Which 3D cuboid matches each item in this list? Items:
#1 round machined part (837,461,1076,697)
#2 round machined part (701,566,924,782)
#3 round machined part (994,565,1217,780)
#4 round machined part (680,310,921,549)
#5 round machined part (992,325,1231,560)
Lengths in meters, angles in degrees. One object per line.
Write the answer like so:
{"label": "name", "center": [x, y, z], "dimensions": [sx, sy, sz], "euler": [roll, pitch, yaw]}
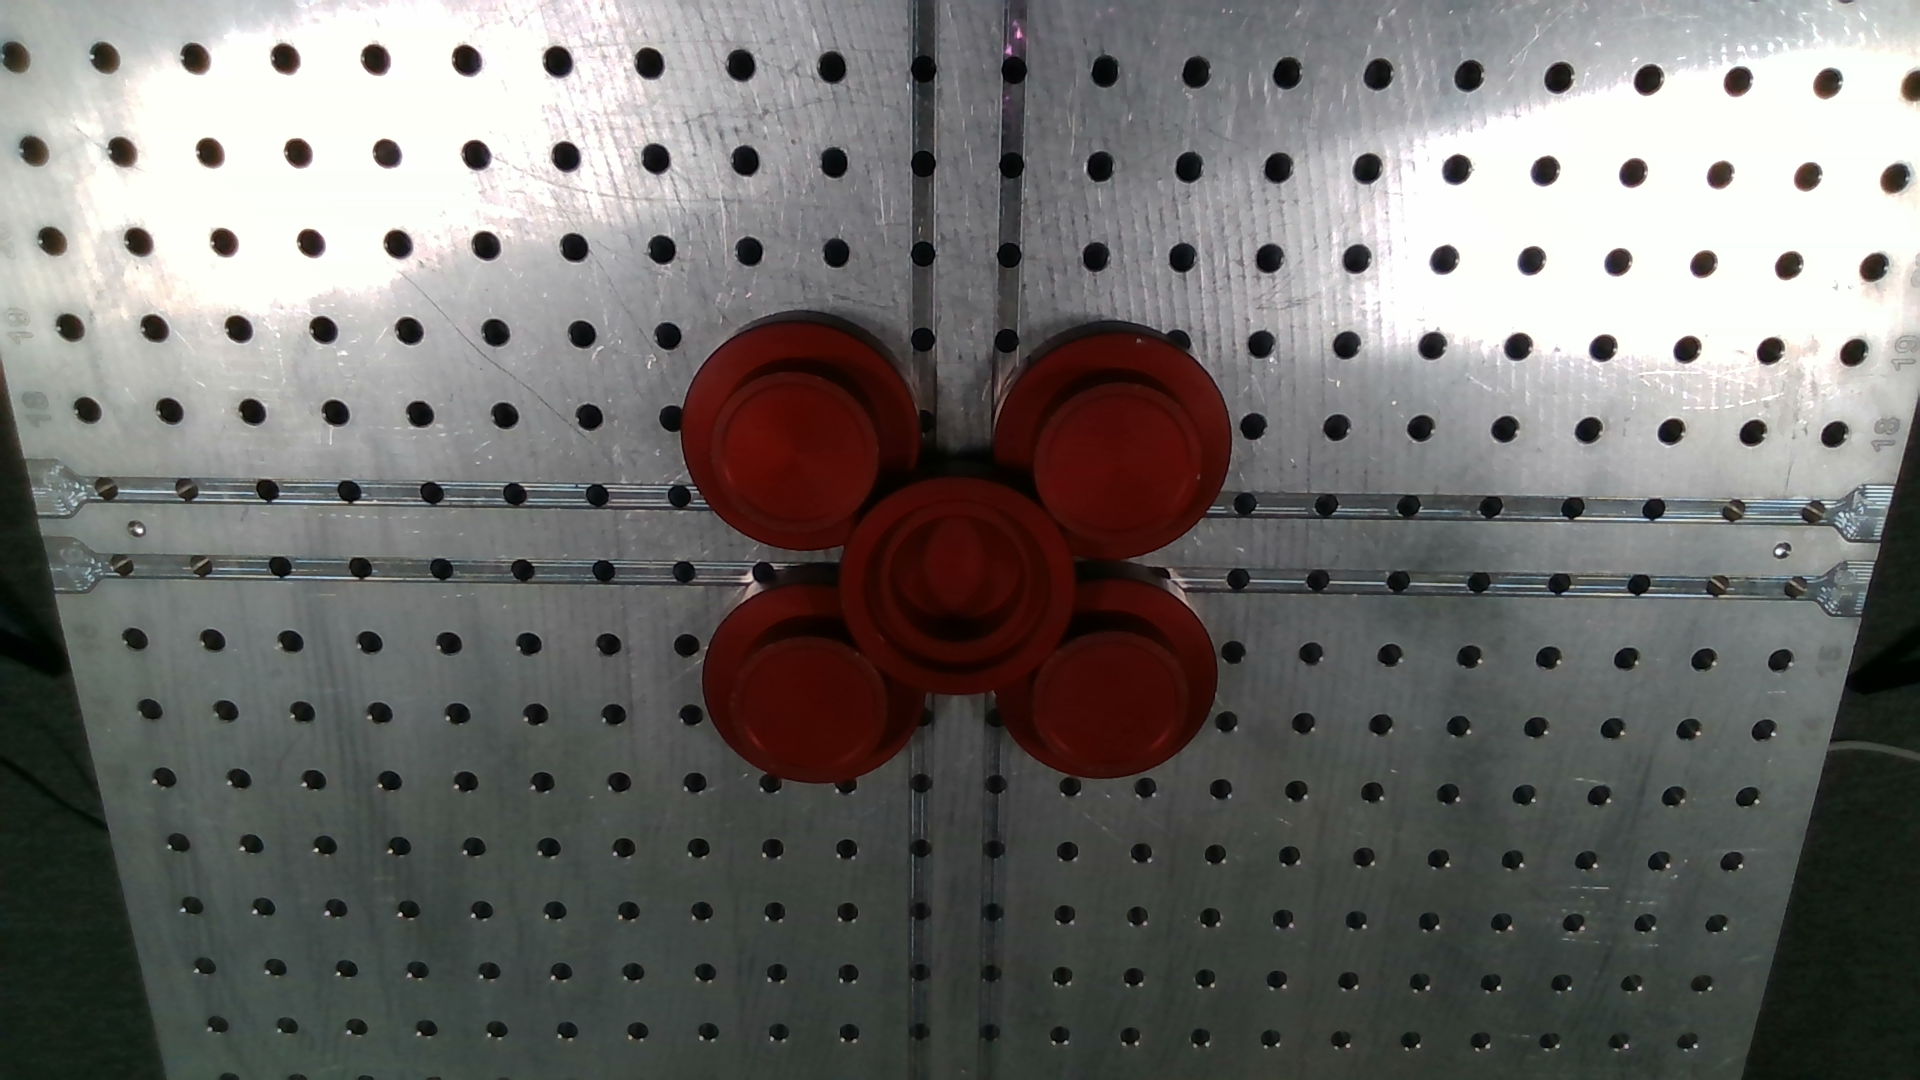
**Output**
{"label": "round machined part", "center": [-0.001, 0.013, 0.581], "dimensions": [0.098, 0.042, 0.098], "euler": [0, 110, 0]}
{"label": "round machined part", "center": [-0.064, 0.064, 0.601], "dimensions": [0.098, 0.042, 0.098], "euler": [0, 110, 0]}
{"label": "round machined part", "center": [0.063, 0.062, 0.600], "dimensions": [0.098, 0.042, 0.098], "euler": [0, 110, 0]}
{"label": "round machined part", "center": [-0.066, -0.042, 0.563], "dimensions": [0.098, 0.042, 0.098], "euler": [0, 110, 0]}
{"label": "round machined part", "center": [0.062, -0.037, 0.564], "dimensions": [0.098, 0.042, 0.098], "euler": [0, 110, 0]}
